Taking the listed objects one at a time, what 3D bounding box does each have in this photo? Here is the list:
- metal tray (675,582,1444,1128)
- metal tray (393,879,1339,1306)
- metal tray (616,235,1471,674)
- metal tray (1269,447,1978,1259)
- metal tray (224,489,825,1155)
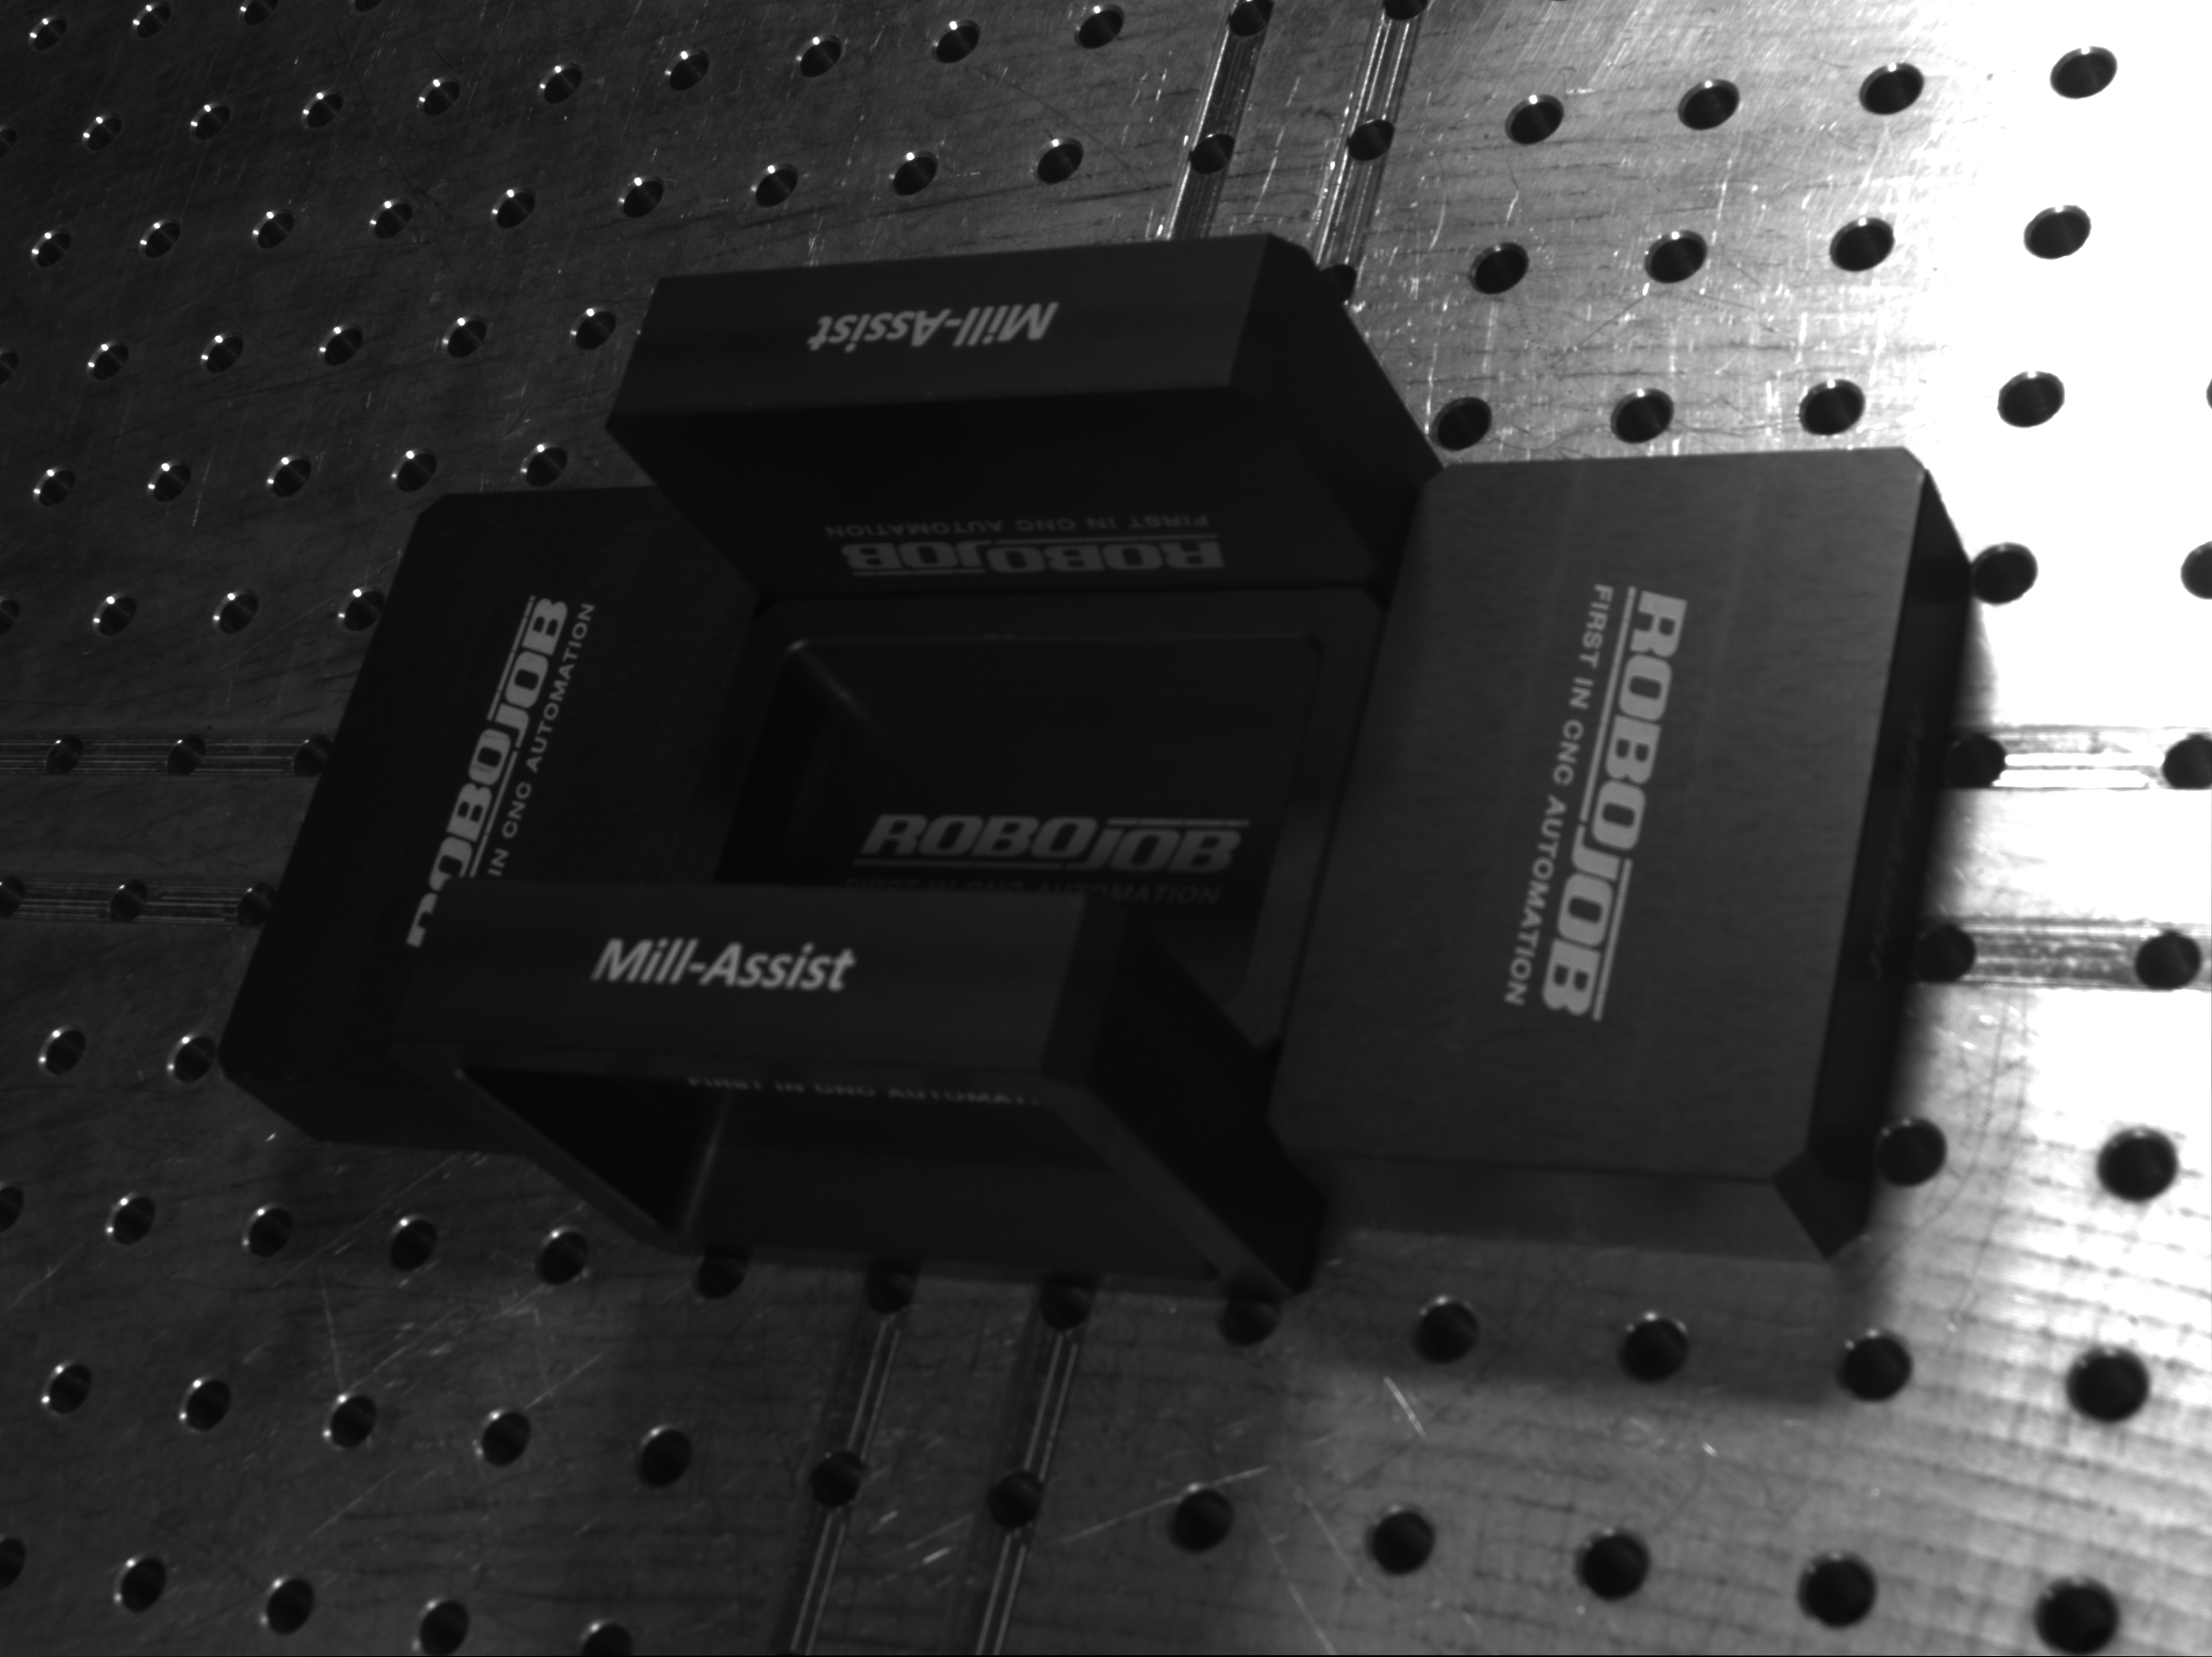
[{"bbox_3d":[-0.012,0.003,0.645,0.130,0.030,0.090,1,62,29],"label":"metal tray"},{"bbox_3d":[-0.039,0.043,0.598,0.130,0.090,0.030,1,62,29],"label":"metal tray"},{"bbox_3d":[-0.009,-0.062,0.649,0.130,0.090,0.030,1,62,29],"label":"metal tray"},{"bbox_3d":[0.086,0.001,0.595,0.090,0.030,0.130,1,62,28],"label":"metal tray"},{"bbox_3d":[-0.106,-0.003,0.703,0.090,0.030,0.130,1,62,29],"label":"metal tray"}]
